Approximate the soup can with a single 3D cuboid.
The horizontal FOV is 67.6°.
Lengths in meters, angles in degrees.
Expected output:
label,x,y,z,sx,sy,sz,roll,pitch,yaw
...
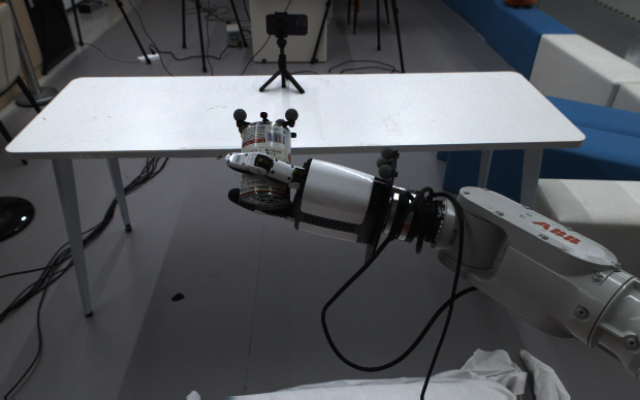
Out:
label,x,y,z,sx,sy,sz,roll,pitch,yaw
soup can,-0.071,-0.044,0.639,0.067,0.067,0.101,1,73,-2
